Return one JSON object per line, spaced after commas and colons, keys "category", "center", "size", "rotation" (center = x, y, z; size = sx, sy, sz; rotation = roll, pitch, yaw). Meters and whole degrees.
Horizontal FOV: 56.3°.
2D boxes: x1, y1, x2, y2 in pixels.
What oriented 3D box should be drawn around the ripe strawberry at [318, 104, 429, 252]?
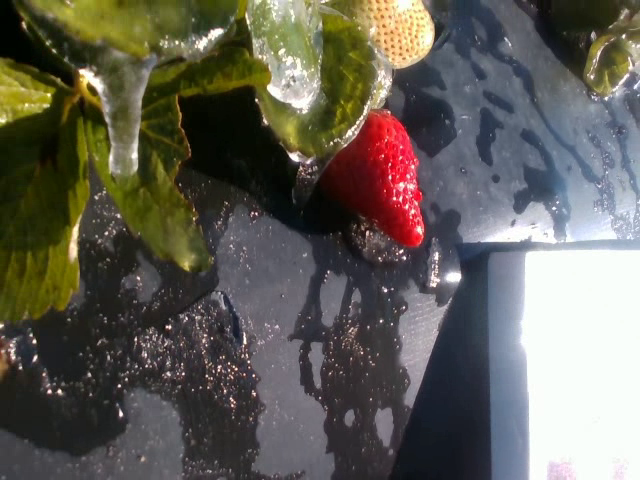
{"category": "ripe strawberry", "center": [0.030, -0.022, 0.211], "size": [0.041, 0.052, 0.040], "rotation": [-21, 3, -34]}
